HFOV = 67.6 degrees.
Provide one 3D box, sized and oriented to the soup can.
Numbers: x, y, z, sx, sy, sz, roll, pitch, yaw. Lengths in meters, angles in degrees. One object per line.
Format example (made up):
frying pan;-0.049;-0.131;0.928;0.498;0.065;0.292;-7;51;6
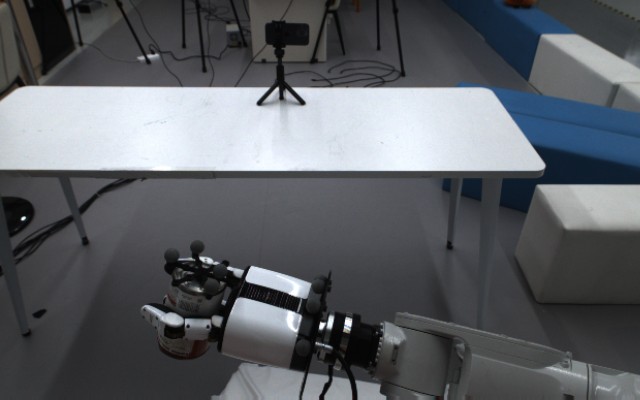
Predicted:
soup can;-0.157;0.138;0.598;0.067;0.101;0.067;17;22;-7
